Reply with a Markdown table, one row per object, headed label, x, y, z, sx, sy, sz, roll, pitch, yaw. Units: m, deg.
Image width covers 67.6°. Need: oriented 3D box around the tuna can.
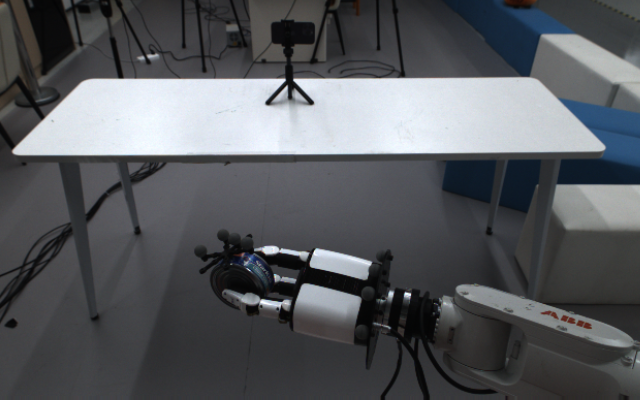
| label | x | y | z | sx | sy | sz | roll | pitch | yaw |
| --- | --- | --- | --- | --- | --- | --- | --- | --- | --- |
| tuna can | -0.106 | 0.119 | 0.674 | 0.085 | 0.085 | 0.034 | 11 | 34 | 13 |
